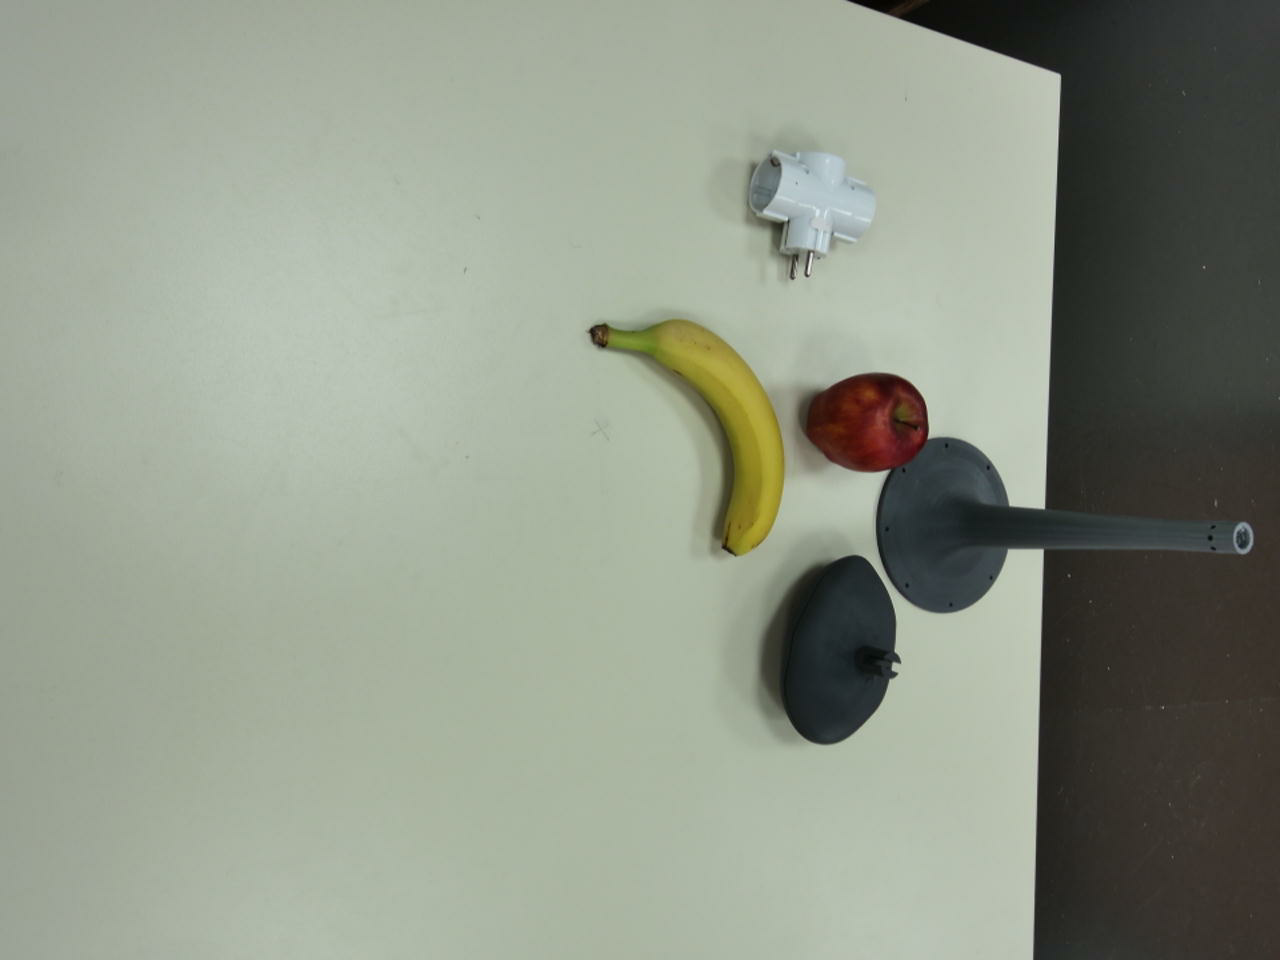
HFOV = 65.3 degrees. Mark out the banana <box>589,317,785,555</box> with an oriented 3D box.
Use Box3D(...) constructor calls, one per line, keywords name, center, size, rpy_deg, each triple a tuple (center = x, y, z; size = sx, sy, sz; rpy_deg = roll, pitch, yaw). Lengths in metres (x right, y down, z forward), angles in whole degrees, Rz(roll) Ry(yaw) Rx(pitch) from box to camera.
Box3D(name="banana", center=(0.053, -0.047, 0.728), size=(0.094, 0.041, 0.196), rpy_deg=(-36, 106, -23))
